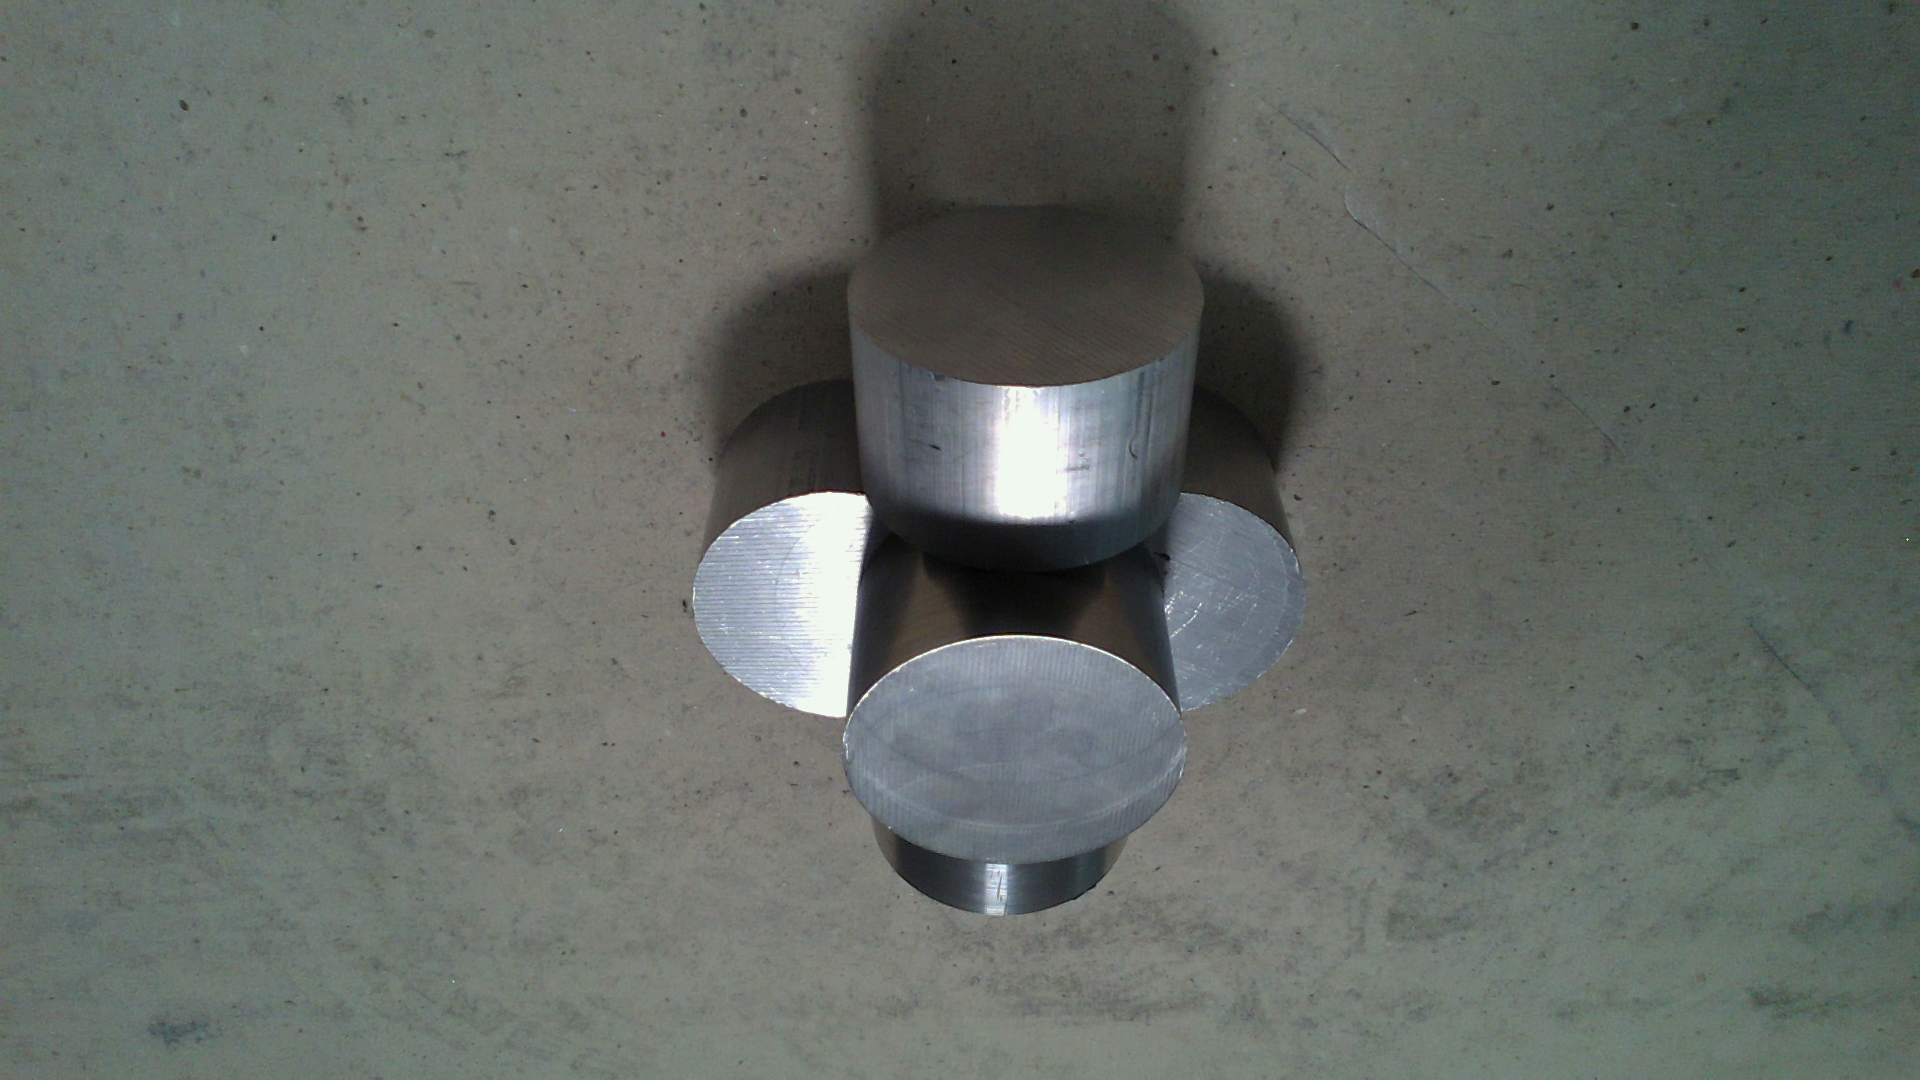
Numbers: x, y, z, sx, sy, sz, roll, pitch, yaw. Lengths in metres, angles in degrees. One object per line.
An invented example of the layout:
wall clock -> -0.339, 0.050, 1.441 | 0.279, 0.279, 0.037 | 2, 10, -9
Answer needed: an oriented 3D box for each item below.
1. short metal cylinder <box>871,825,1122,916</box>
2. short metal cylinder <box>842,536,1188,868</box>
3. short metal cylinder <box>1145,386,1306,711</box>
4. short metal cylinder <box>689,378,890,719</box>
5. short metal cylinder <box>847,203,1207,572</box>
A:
short metal cylinder -> 0.012, 0.063, 0.408 | 0.080, 0.080, 0.050 | 0, 130, 0
short metal cylinder -> 0.013, 0.035, 0.338 | 0.080, 0.050, 0.080 | 0, 130, 0
short metal cylinder -> 0.050, 0.003, 0.377 | 0.080, 0.050, 0.080 | 0, 130, 0
short metal cylinder -> -0.030, 0.003, 0.377 | 0.080, 0.050, 0.080 | 0, 130, 0
short metal cylinder -> 0.015, -0.038, 0.323 | 0.080, 0.080, 0.050 | 0, 130, 0
